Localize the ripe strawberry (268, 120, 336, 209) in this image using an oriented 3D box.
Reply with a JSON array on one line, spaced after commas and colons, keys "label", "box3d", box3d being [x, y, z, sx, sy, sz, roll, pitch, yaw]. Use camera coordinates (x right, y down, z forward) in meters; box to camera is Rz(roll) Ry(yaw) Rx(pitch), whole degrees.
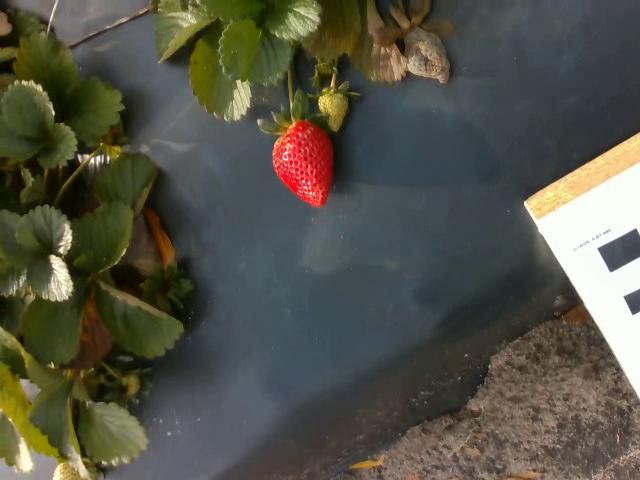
[{"label": "ripe strawberry", "box3d": [-0.008, -0.042, 0.349, 0.045, 0.058, 0.050, -29, -15, 16]}]
